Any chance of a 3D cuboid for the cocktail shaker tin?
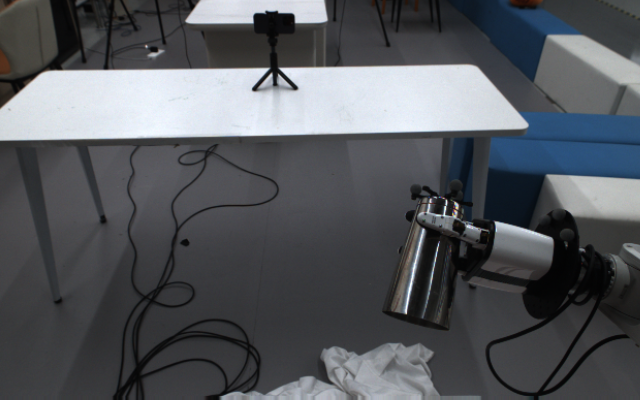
[{"bbox_3d":[0.153,0.082,0.678,0.093,0.093,0.170,12,72,14],"label":"cocktail shaker tin"}]
